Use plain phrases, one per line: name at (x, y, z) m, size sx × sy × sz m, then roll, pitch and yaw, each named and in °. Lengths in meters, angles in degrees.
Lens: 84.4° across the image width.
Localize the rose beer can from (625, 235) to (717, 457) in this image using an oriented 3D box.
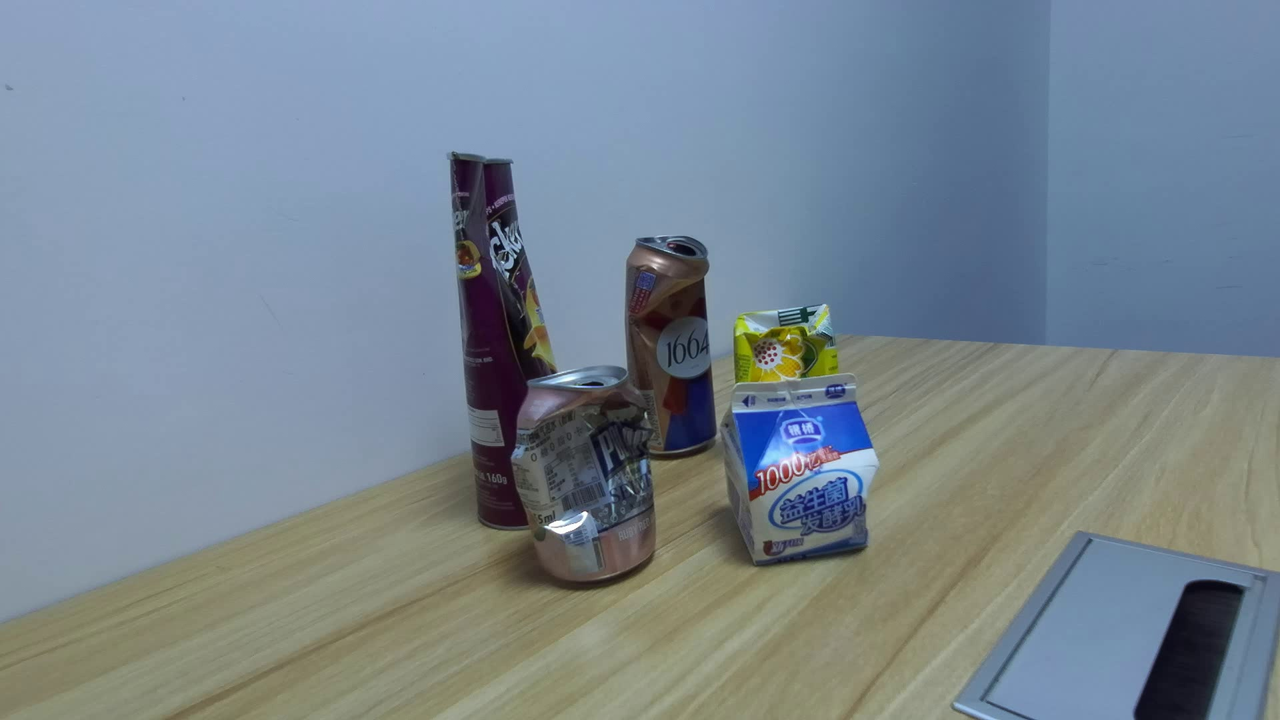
rose beer can at (0.023, -0.010, 0.547) m, size 0.070 × 0.168 × 0.069 m, roll -5°, pitch 17°, yaw -5°

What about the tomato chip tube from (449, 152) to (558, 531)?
tomato chip tube at (-0.086, -0.012, 0.462) m, size 0.090 × 0.235 × 0.077 m, roll -16°, pitch 16°, yaw -43°

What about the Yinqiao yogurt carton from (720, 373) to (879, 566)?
Yinqiao yogurt carton at (0.087, 0.053, 0.387) m, size 0.074 × 0.097 × 0.080 m, roll -8°, pitch 21°, yaw -4°

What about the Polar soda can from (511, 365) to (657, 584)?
Polar soda can at (-0.027, 0.060, 0.387) m, size 0.070 × 0.114 × 0.074 m, roll 0°, pitch 16°, yaw 5°

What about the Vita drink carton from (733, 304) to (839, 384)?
Vita drink carton at (0.102, 0.021, 0.491) m, size 0.071 × 0.109 × 0.046 m, roll -4°, pitch 10°, yaw 16°
